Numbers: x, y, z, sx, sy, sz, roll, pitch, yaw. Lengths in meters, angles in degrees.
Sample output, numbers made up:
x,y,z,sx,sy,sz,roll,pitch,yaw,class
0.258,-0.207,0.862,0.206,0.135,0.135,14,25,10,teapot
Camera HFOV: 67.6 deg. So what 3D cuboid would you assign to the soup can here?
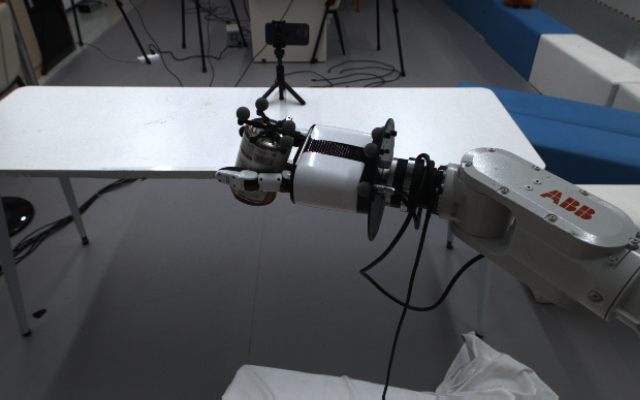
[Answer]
x,y,z,sx,sy,sz,roll,pitch,yaw,class
-0.079,-0.050,0.655,0.067,0.101,0.067,14,40,-12,soup can
